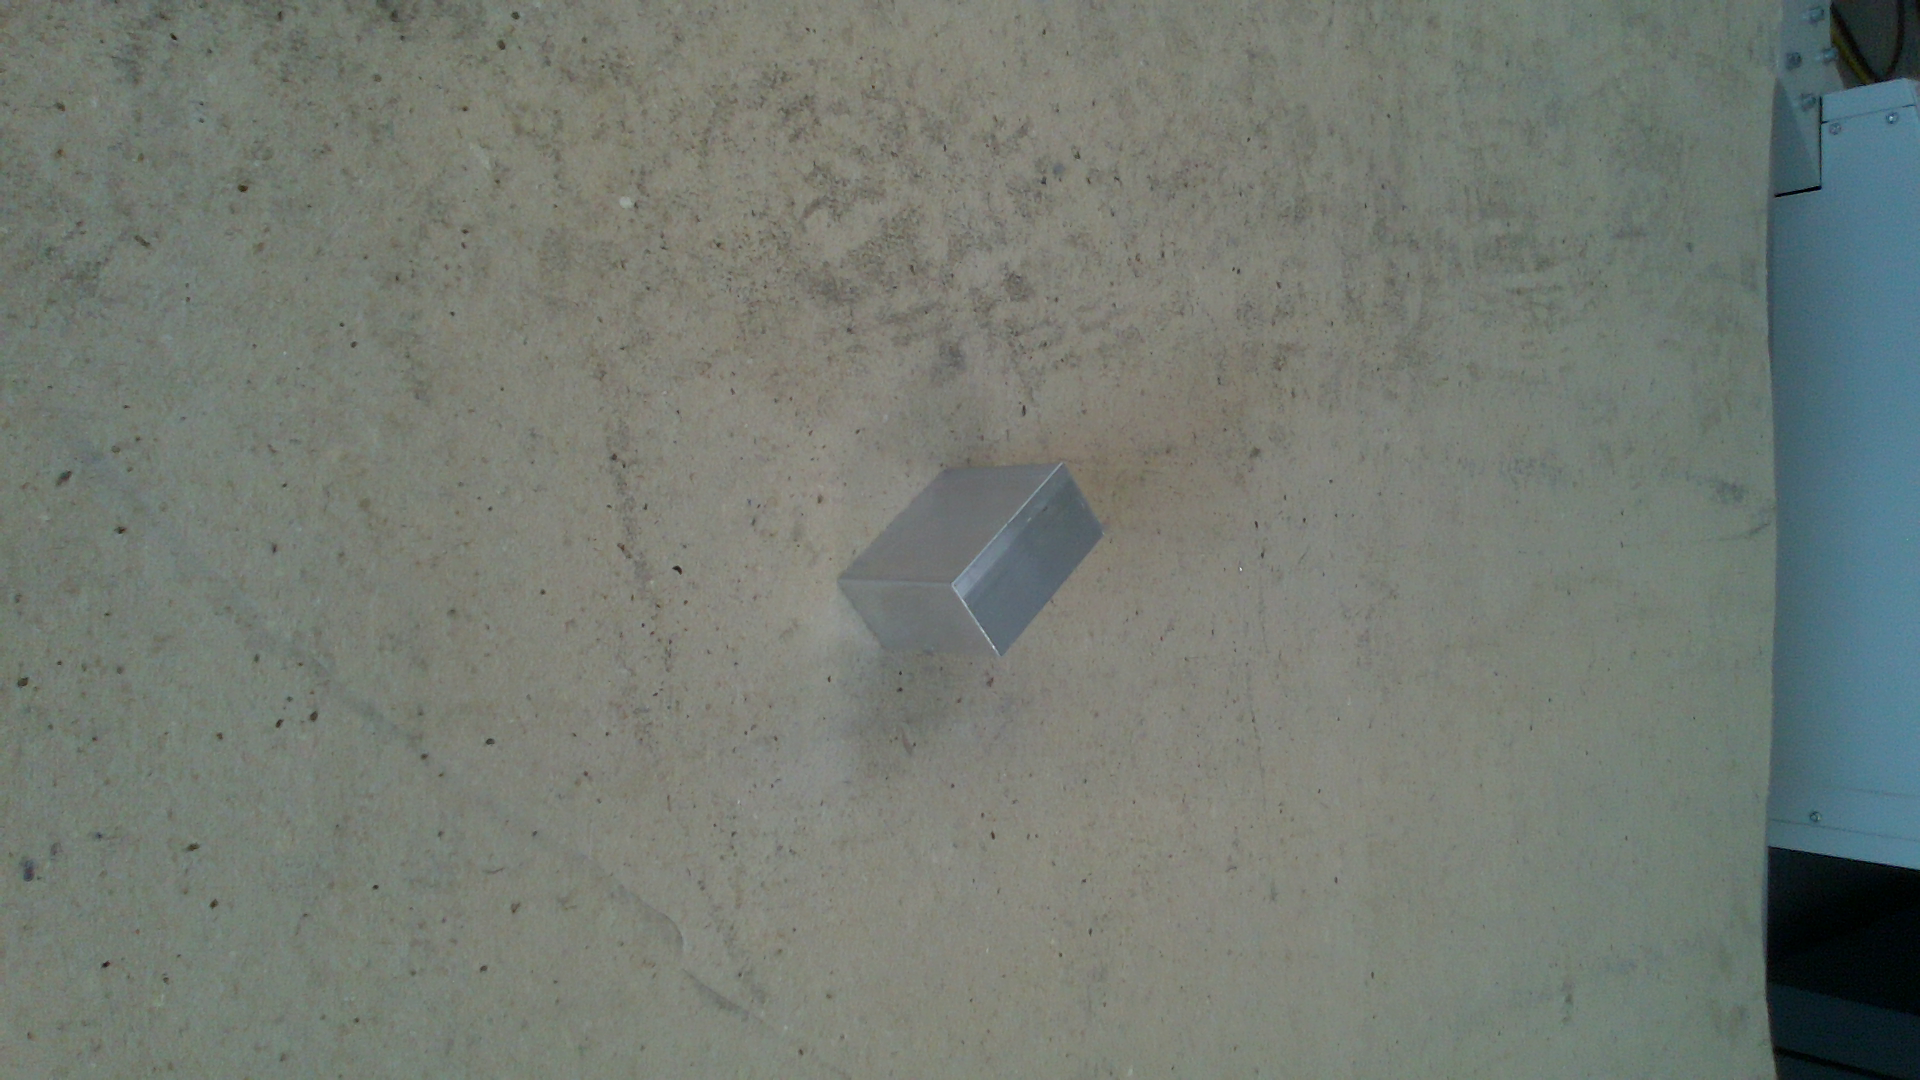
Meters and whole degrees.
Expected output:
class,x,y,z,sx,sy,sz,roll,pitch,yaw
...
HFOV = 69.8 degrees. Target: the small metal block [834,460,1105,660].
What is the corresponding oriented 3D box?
class,x,y,z,sx,sy,sz,roll,pitch,yaw
small metal block,0.003,0.005,0.375,0.050,0.050,0.025,-48,118,-30
